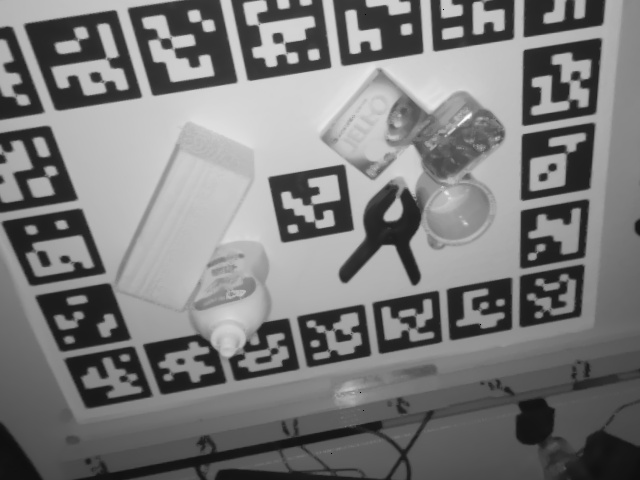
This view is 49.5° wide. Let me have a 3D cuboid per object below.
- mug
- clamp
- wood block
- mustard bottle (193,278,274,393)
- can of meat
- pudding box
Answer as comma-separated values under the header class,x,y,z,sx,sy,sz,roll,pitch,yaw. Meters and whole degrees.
class,x,y,z,sx,sy,sz,roll,pitch,yaw
mug,0.175,0.000,0.911,0.094,0.082,0.116,11,115,-11
clamp,0.099,0.045,0.932,0.122,0.037,0.163,8,115,-9
wood block,-0.165,0.011,0.852,0.090,0.091,0.204,24,115,-19
mustard bottle,-0.106,0.121,0.854,0.096,0.192,0.058,-13,118,1
can of meat,0.174,-0.081,0.835,0.101,0.084,0.058,-36,115,14
pudding box,0.072,-0.097,0.846,0.090,0.039,0.112,37,110,-22
